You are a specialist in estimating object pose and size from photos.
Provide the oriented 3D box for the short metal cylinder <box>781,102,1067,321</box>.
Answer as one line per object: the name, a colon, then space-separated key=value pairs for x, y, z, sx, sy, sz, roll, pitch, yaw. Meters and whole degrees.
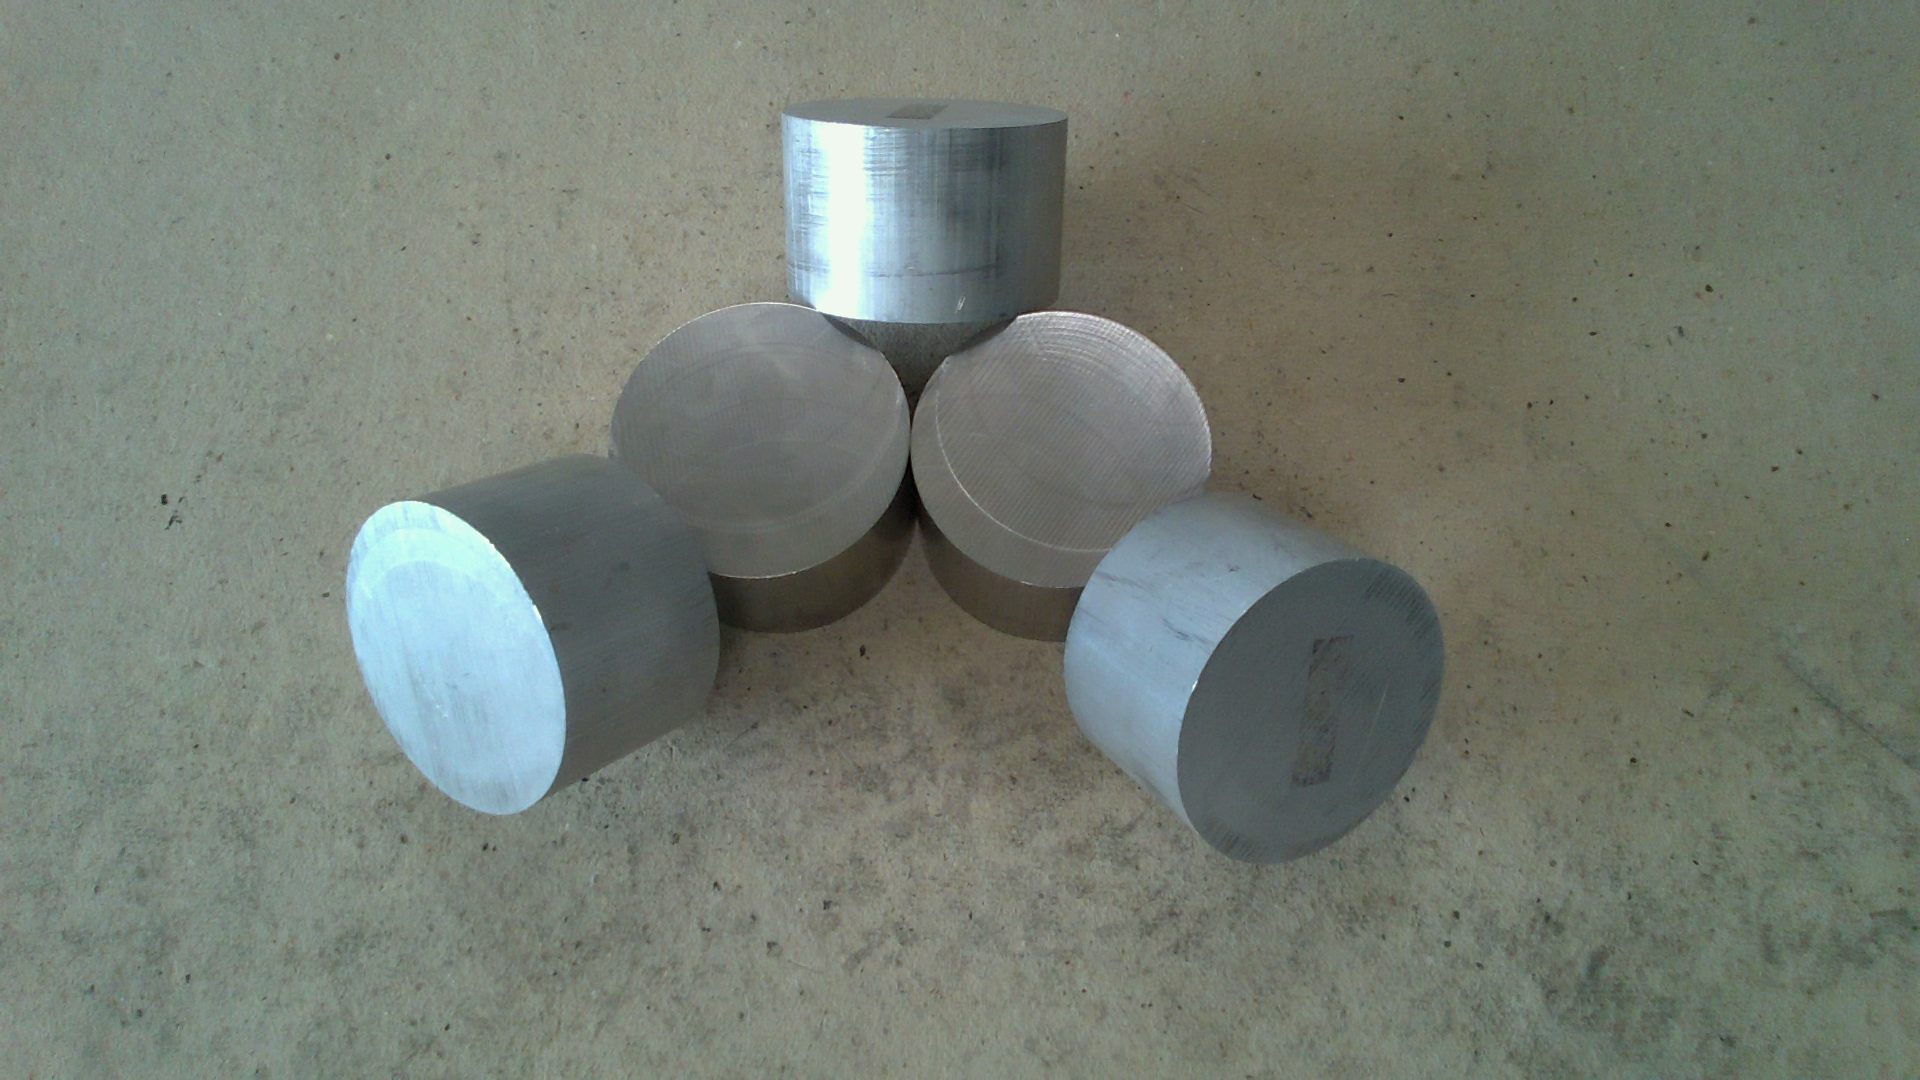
short metal cylinder: x=-0.010 y=-0.097 z=0.395 sx=0.080 sy=0.080 sz=0.050 roll=2 pitch=113 yaw=1

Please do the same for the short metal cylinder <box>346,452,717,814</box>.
short metal cylinder: x=-0.109 y=0.022 z=0.350 sx=0.080 sy=0.080 sz=0.050 roll=45 pitch=36 yaw=14

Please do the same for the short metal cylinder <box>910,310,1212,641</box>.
short metal cylinder: x=0.027 y=-0.017 z=0.388 sx=0.080 sy=0.050 sz=0.080 roll=0 pitch=70 yaw=0

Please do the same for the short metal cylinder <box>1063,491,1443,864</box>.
short metal cylinder: x=0.073 y=0.033 z=0.347 sx=0.080 sy=0.080 sz=0.050 roll=-35 pitch=32 yaw=-12

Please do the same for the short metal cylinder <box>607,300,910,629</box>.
short metal cylinder: x=-0.053 y=-0.020 z=0.388 sx=0.080 sy=0.050 sz=0.080 roll=0 pitch=70 yaw=0
